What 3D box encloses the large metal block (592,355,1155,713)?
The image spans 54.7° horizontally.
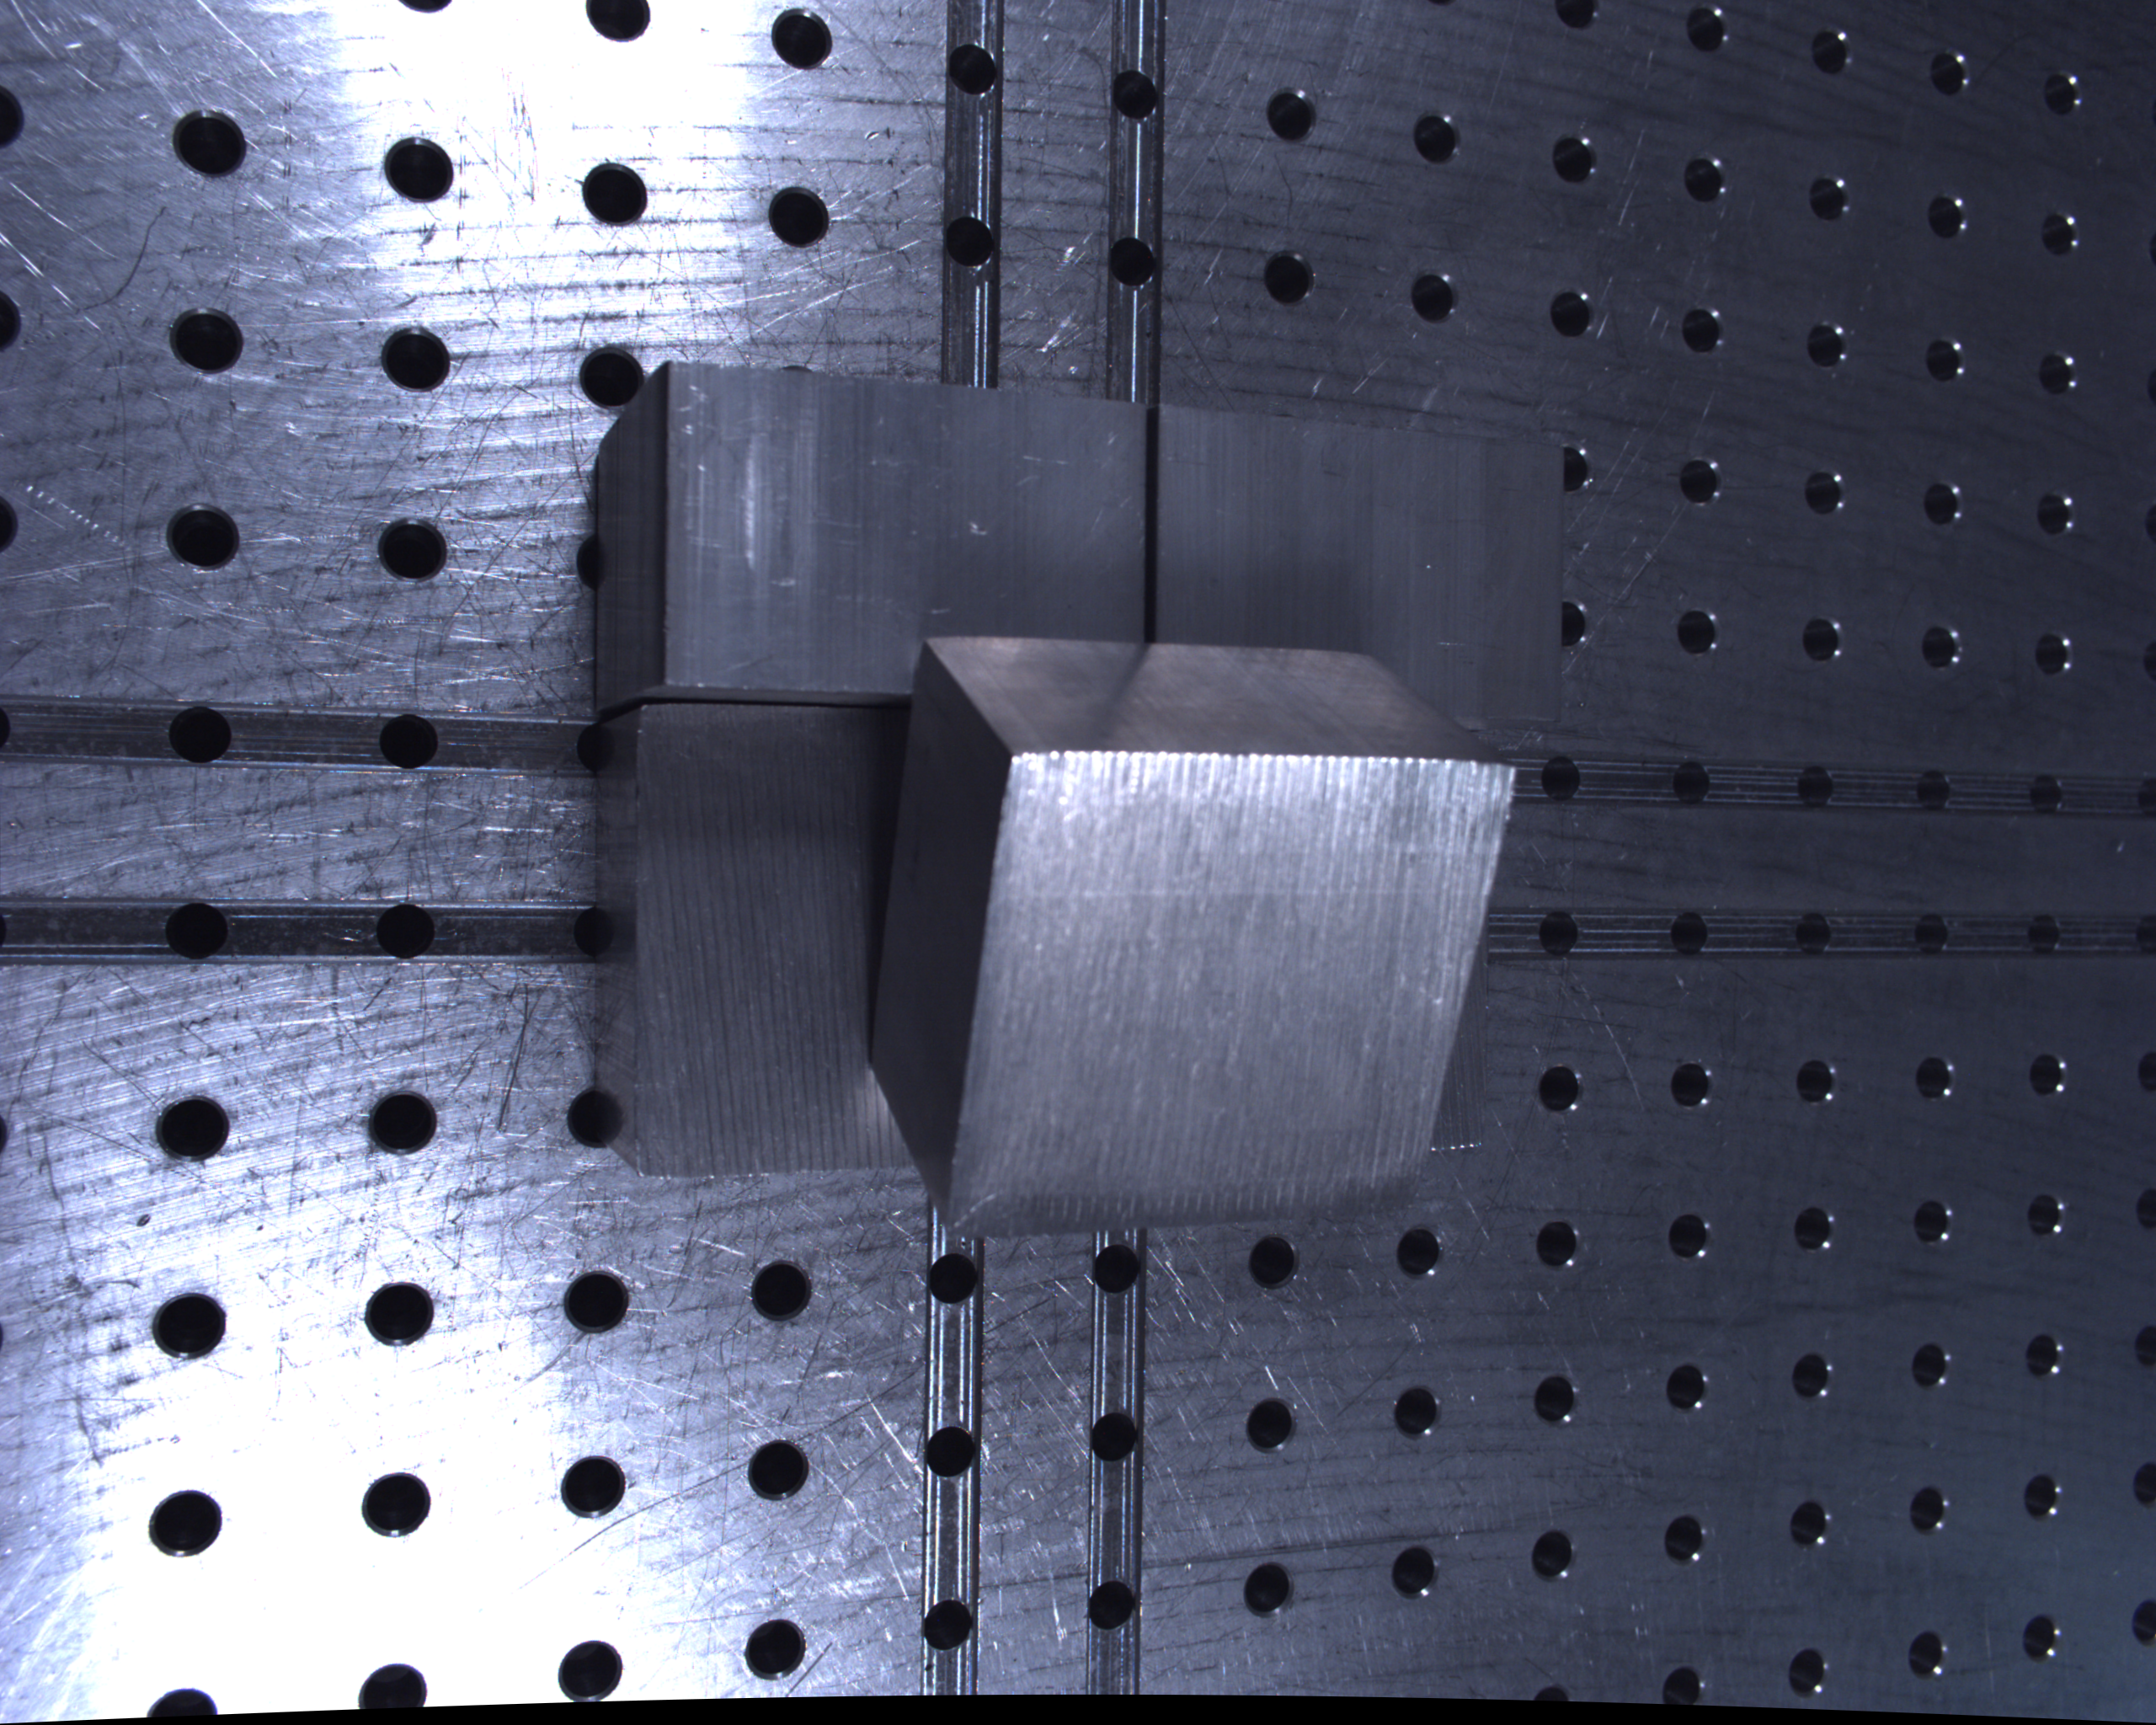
[{"bbox_3d":[-0.039,-0.052,0.368,0.081,0.080,0.050,1,90,-20],"label":"large metal block"}]

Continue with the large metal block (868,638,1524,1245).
[{"bbox_3d":[0.015,0.011,0.335,0.081,0.050,0.079,0,114,-21],"label":"large metal block"}]

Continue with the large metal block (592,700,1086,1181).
[{"bbox_3d":[-0.044,0.013,0.382,0.081,0.050,0.079,1,90,-21],"label":"large metal block"}]

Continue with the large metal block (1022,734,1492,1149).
[{"bbox_3d":[0.032,0.014,0.410,0.081,0.050,0.079,1,90,-21],"label":"large metal block"}]

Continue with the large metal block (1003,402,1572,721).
[{"bbox_3d":[0.037,-0.051,0.397,0.081,0.080,0.050,1,90,-20],"label":"large metal block"}]
